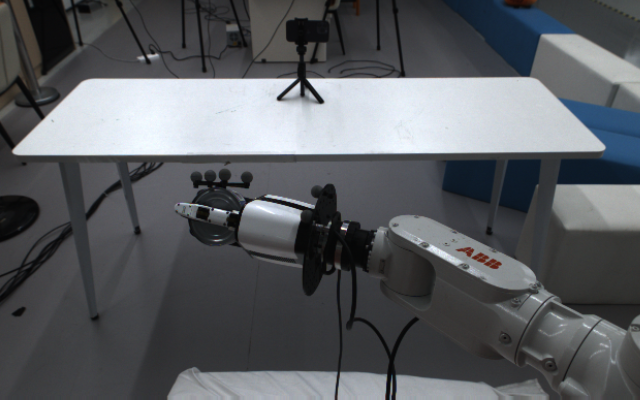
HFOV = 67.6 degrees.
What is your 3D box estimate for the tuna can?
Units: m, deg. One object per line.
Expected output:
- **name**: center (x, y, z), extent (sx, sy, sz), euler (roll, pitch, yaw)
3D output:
- **tuna can**: center (-0.146, 0.026, 0.710), extent (0.085, 0.085, 0.034), euler (11, -1, 13)
